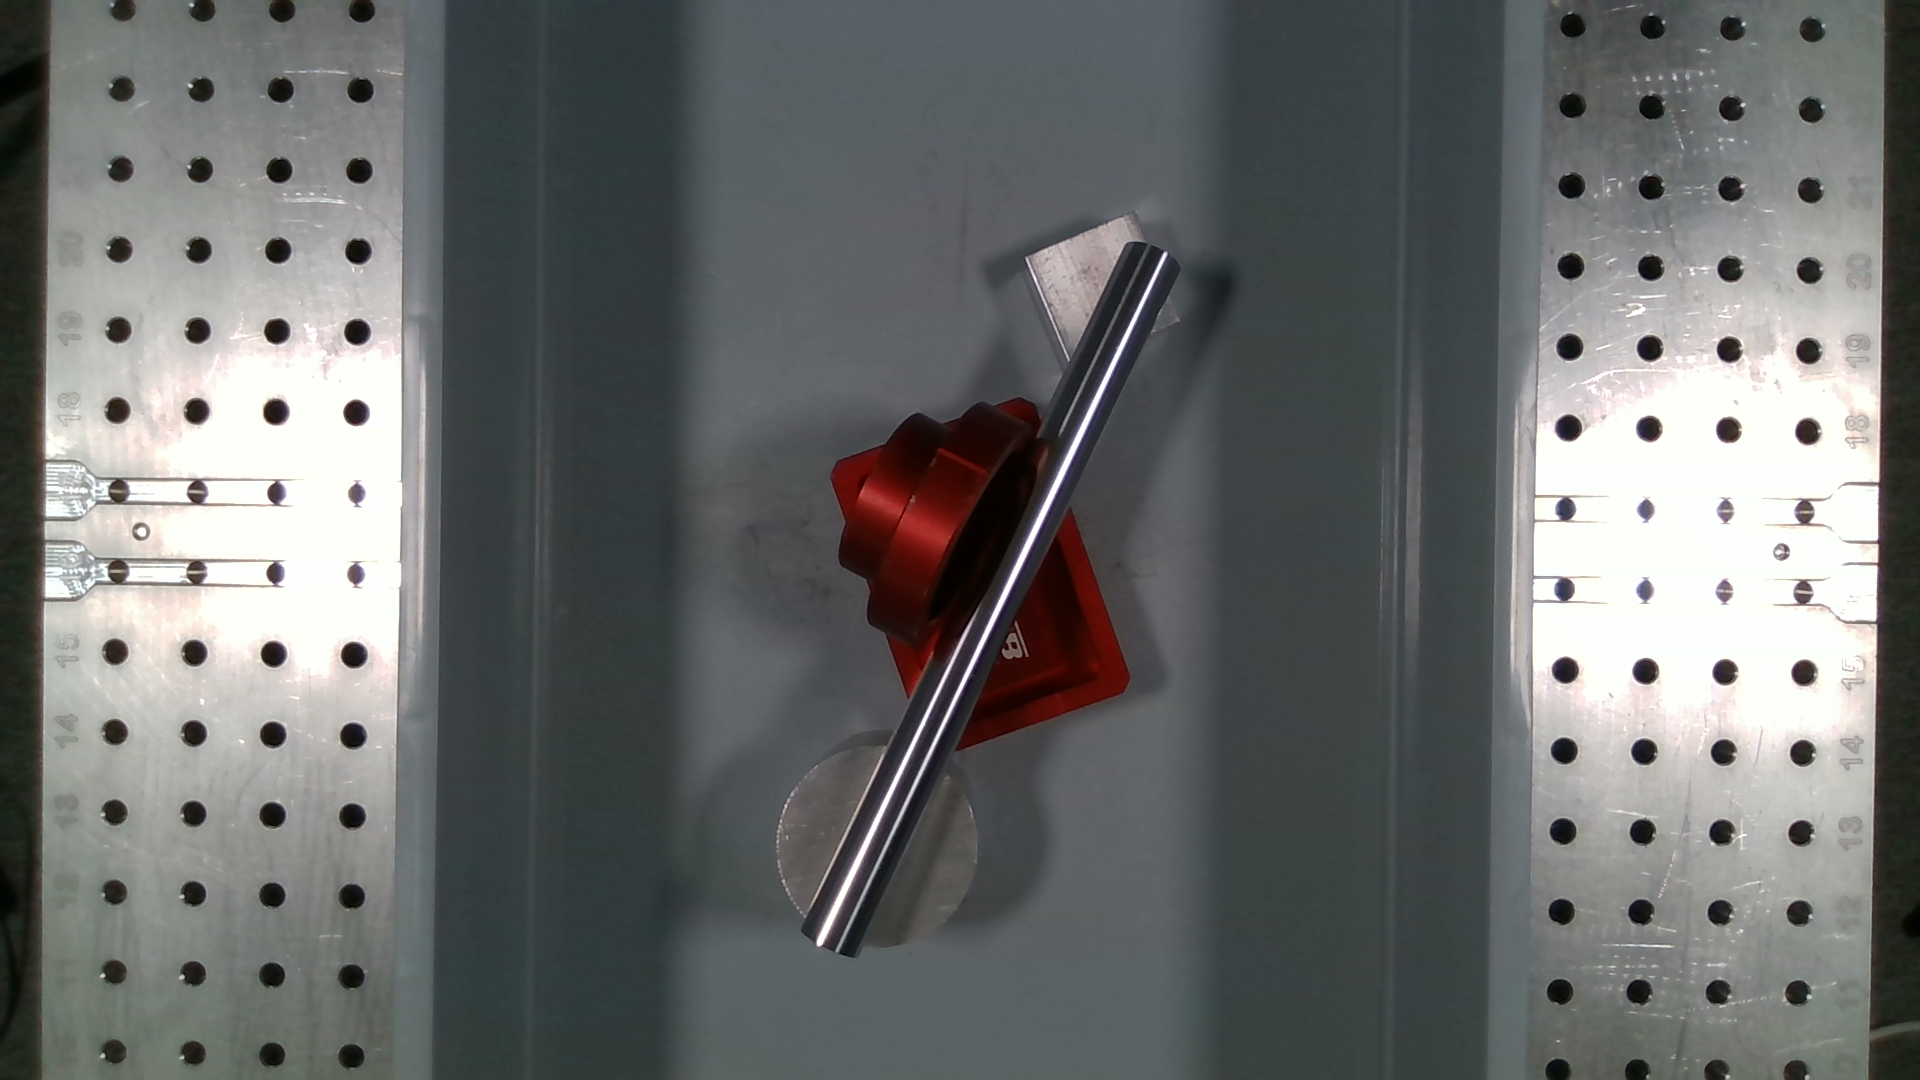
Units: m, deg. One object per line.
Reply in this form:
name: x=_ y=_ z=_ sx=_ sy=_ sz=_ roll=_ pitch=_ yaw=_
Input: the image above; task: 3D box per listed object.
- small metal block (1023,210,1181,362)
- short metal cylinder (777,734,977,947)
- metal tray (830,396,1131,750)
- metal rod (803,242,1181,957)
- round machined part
small metal block: x=0.059 y=-0.104 z=0.585 sx=0.050 sy=0.025 sz=0.050 roll=-22 pitch=90 yaw=0
short metal cylinder: x=-0.033 y=0.123 z=0.575 sx=0.080 sy=0.050 sz=0.080 roll=0 pitch=90 yaw=0
metal tray: x=0.009 y=0.015 z=0.583 sx=0.090 sy=0.030 sz=0.130 roll=-19 pitch=91 yaw=0
metal rod: x=0.014 y=0.020 z=0.545 sx=0.025 sy=0.025 sz=0.300 roll=25 pitch=84 yaw=0
round machined part: x=-0.013 y=-0.011 z=0.536 sx=0.042 sy=0.098 sz=0.098 roll=28 pitch=90 yaw=8
